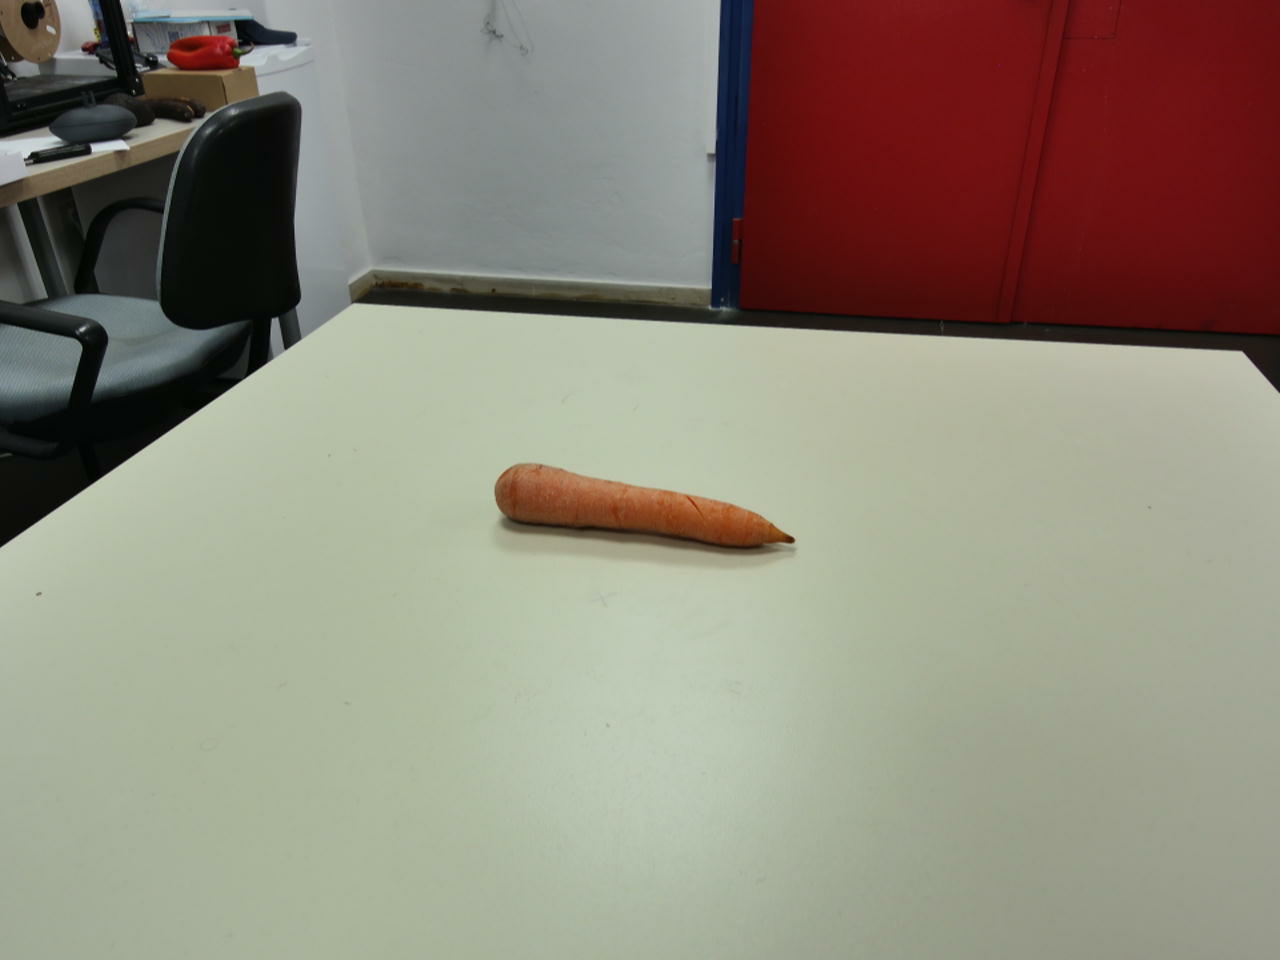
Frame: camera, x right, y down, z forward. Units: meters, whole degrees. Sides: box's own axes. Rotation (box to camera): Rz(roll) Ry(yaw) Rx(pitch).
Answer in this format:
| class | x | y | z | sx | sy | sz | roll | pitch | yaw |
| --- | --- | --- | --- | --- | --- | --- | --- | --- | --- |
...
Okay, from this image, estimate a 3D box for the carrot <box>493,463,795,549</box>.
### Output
| class | x | y | z | sx | sy | sz | roll | pitch | yaw |
| --- | --- | --- | --- | --- | --- | --- | --- | --- | --- |
| carrot | 0.002 | 0.016 | 0.635 | 0.196 | 0.041 | 0.039 | 5 | 27 | 11 |
